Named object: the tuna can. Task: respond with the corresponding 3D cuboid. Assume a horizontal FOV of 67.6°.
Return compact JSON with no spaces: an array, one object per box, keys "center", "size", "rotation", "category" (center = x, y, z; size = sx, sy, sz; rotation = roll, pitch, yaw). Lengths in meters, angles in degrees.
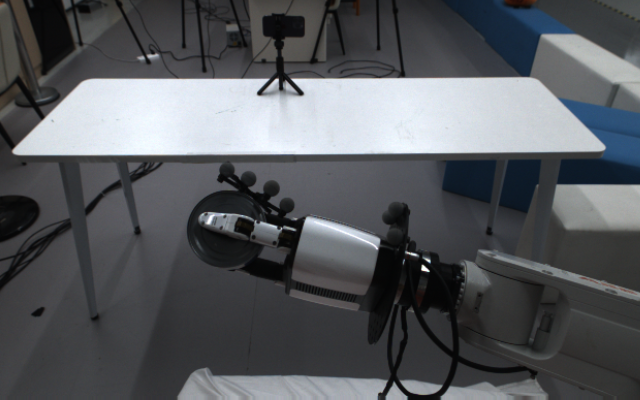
[{"center":[-0.100,0.035,0.537],"size":[0.085,0.034,0.085],"rotation":[1,75,-4],"category":"tuna can"}]
